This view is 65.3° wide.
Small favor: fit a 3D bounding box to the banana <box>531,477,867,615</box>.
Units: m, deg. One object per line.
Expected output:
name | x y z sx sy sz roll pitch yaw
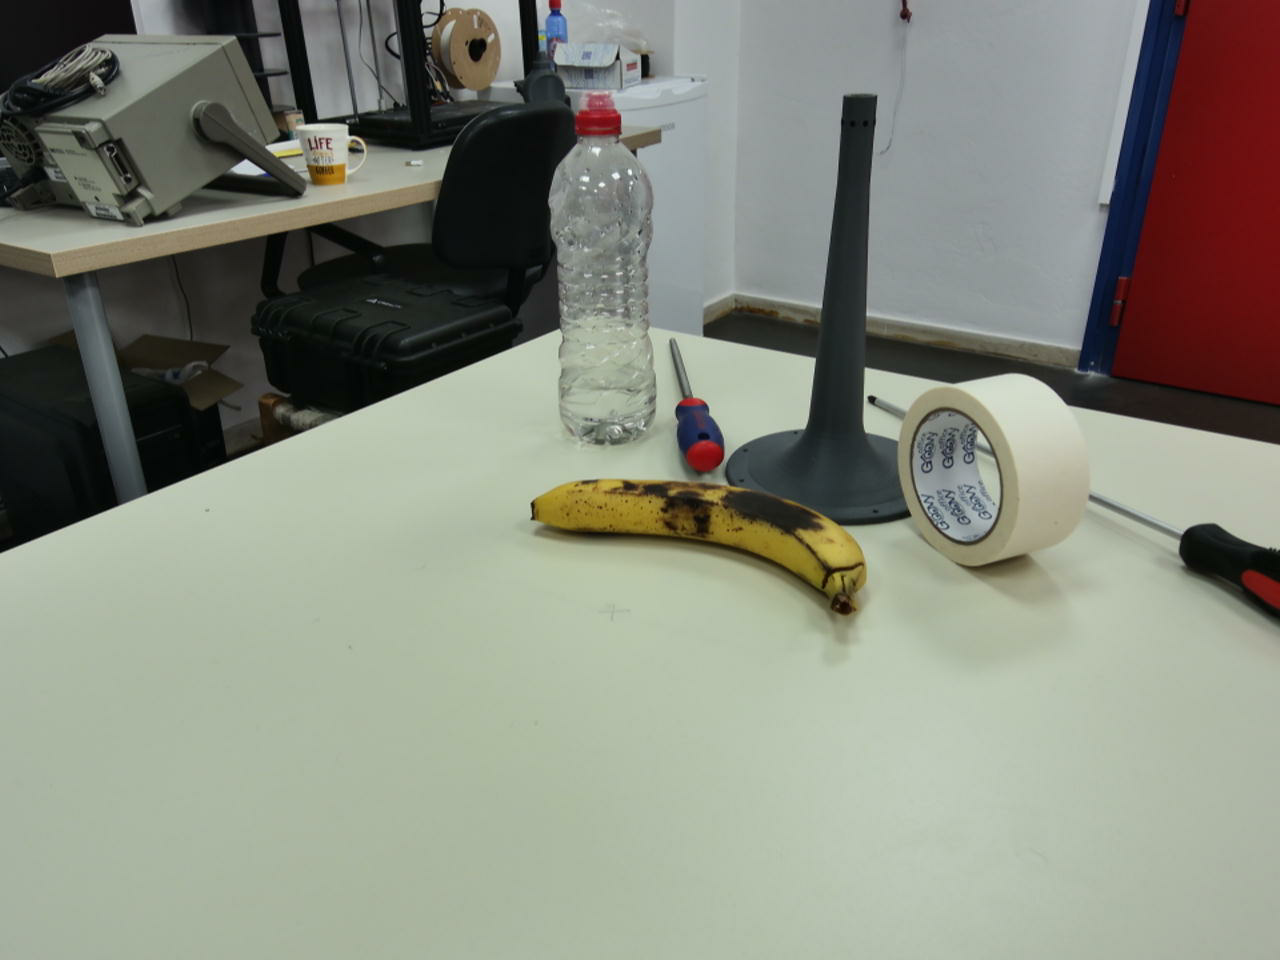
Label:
banana | 0.042 0.028 0.598 0.222 0.037 0.084 17 30 33
